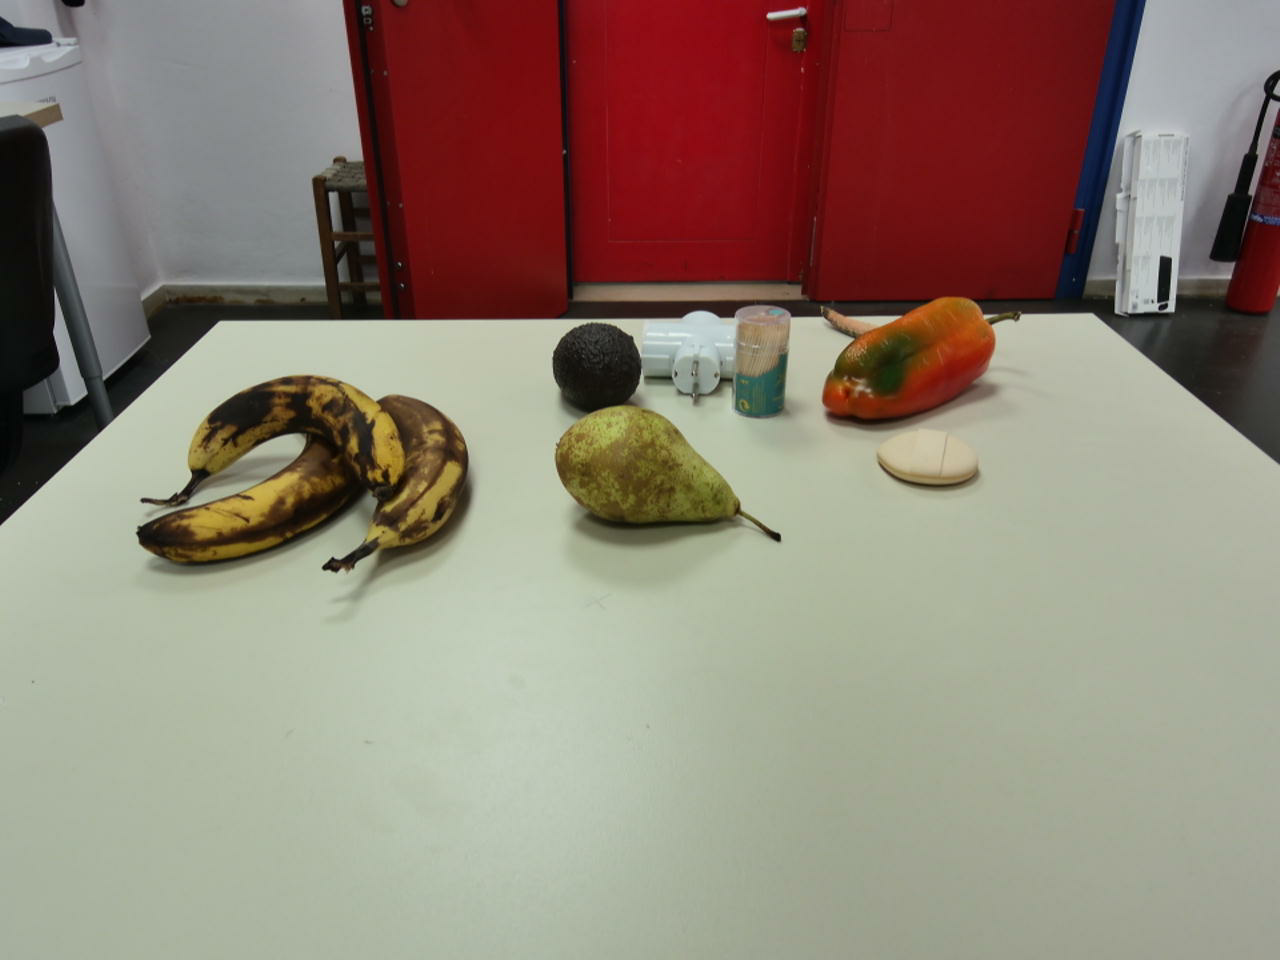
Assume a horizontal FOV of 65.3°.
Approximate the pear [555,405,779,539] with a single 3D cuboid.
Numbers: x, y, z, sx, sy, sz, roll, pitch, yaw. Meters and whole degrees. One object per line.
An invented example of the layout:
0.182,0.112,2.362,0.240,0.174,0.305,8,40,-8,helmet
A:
0.014,-0.010,0.601,0.128,0.075,0.071,-6,27,-7,pear
